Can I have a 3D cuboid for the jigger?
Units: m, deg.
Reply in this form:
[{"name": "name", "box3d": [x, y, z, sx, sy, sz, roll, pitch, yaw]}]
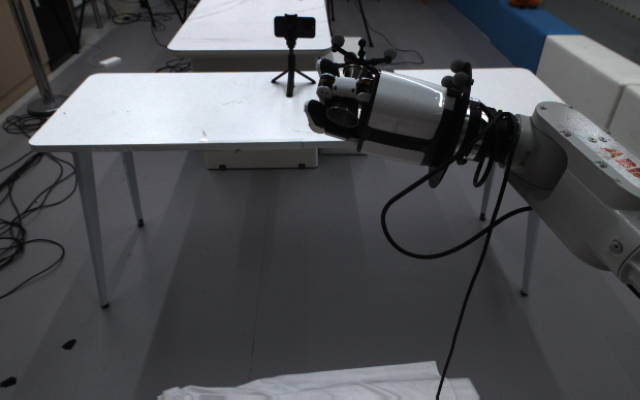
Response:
[{"name": "jigger", "box3d": [0.041, -0.133, 0.618, 0.043, 0.043, 0.071, 12, 71, 14]}]
